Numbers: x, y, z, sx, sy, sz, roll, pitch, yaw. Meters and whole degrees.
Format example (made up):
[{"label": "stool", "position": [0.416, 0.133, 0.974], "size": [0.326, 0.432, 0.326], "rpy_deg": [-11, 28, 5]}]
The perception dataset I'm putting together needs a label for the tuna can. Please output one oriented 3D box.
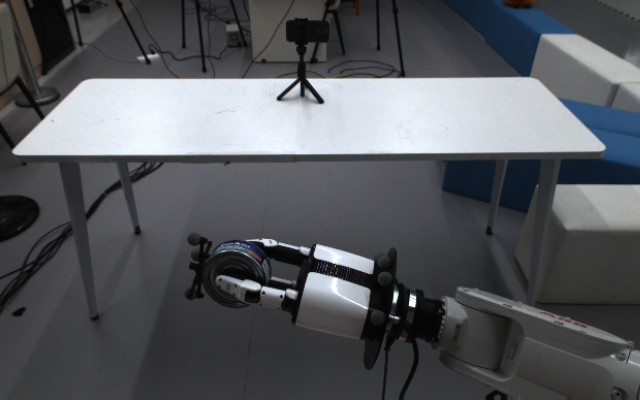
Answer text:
[{"label": "tuna can", "position": [-0.106, 0.096, 0.628], "size": [0.085, 0.085, 0.034], "rpy_deg": [4, 18, 3]}]
